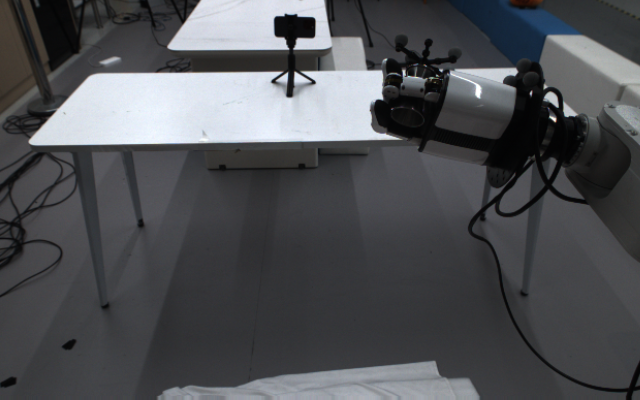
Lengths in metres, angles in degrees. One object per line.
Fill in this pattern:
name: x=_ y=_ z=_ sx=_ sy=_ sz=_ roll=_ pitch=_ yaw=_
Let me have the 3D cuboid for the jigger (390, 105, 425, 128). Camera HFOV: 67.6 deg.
jigger: x=0.122 y=-0.133 z=0.617 sx=0.043 sy=0.043 sz=0.071 roll=12 pitch=71 yaw=14
